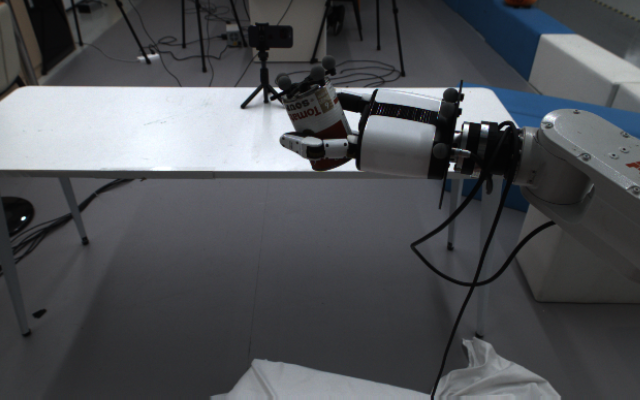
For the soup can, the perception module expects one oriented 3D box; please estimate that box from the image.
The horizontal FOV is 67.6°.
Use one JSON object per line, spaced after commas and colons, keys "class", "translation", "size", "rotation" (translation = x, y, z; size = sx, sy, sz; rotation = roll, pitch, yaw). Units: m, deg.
{"class": "soup can", "translation": [0.003, -0.098, 0.622], "size": [0.067, 0.101, 0.067], "rotation": [-22, 24, 10]}
